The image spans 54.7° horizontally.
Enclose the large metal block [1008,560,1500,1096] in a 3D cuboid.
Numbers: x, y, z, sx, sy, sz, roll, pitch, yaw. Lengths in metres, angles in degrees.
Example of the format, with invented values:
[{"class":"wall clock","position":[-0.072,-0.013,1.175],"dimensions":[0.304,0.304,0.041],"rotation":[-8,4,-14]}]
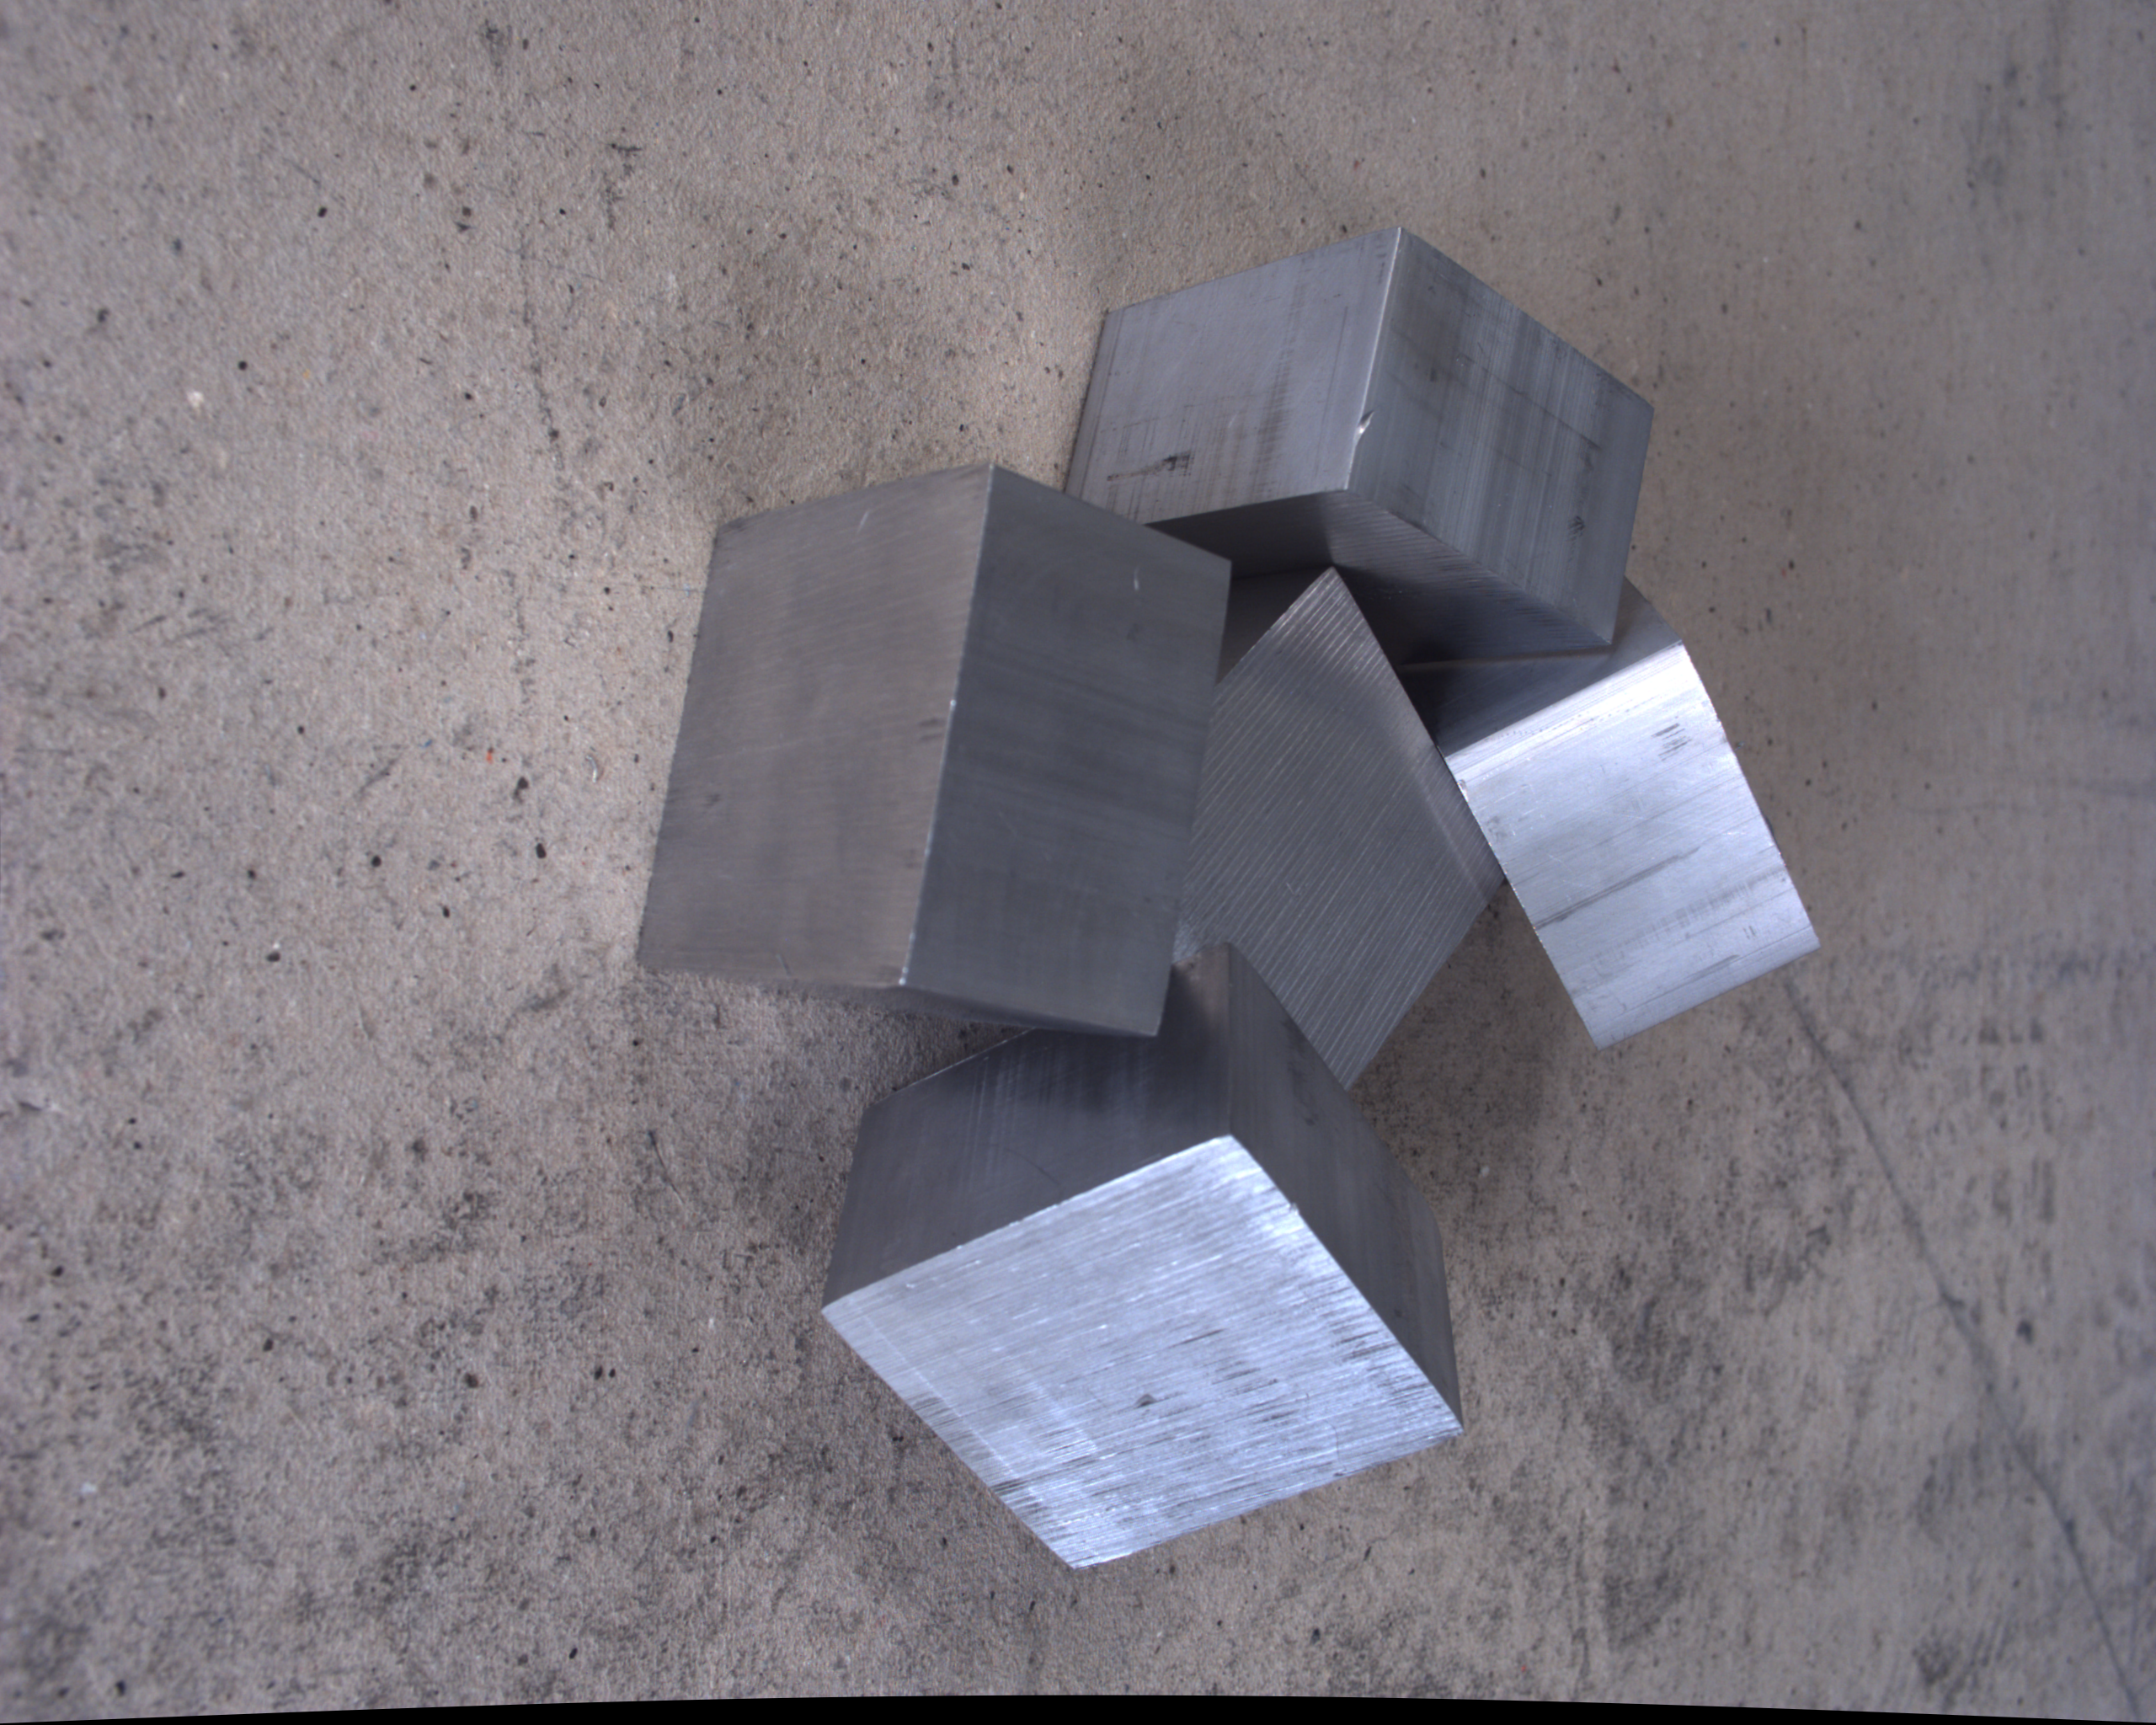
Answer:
[{"class":"large metal block","position":[0.029,-0.002,0.411],"dimensions":[0.080,0.050,0.080],"rotation":[-48,120,-29]}]

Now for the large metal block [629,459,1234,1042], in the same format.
[{"class":"large metal block","position":[-0.026,-0.016,0.350],"dimensions":[0.050,0.080,0.080],"rotation":[15,81,-39]}]

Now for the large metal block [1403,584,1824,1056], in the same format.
[{"class":"large metal block","position":[0.111,-0.019,0.455],"dimensions":[0.050,0.080,0.080],"rotation":[-28,114,10]}]

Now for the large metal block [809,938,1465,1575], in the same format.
[{"class":"large metal block","position":[0.012,0.072,0.372],"dimensions":[0.080,0.080,0.050],"rotation":[53,22,-27]}]

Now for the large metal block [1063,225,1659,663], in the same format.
[{"class":"large metal block","position":[0.055,-0.077,0.416],"dimensions":[0.080,0.080,0.050],"rotation":[20,77,-38]}]
